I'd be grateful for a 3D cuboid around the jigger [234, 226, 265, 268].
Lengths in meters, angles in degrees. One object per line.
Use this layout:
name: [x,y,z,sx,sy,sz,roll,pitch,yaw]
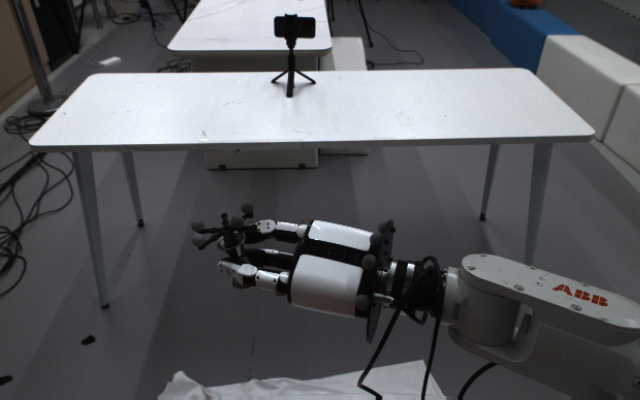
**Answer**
jigger: [-0.109,0.082,0.661,0.043,0.071,0.043,-12,29,7]
